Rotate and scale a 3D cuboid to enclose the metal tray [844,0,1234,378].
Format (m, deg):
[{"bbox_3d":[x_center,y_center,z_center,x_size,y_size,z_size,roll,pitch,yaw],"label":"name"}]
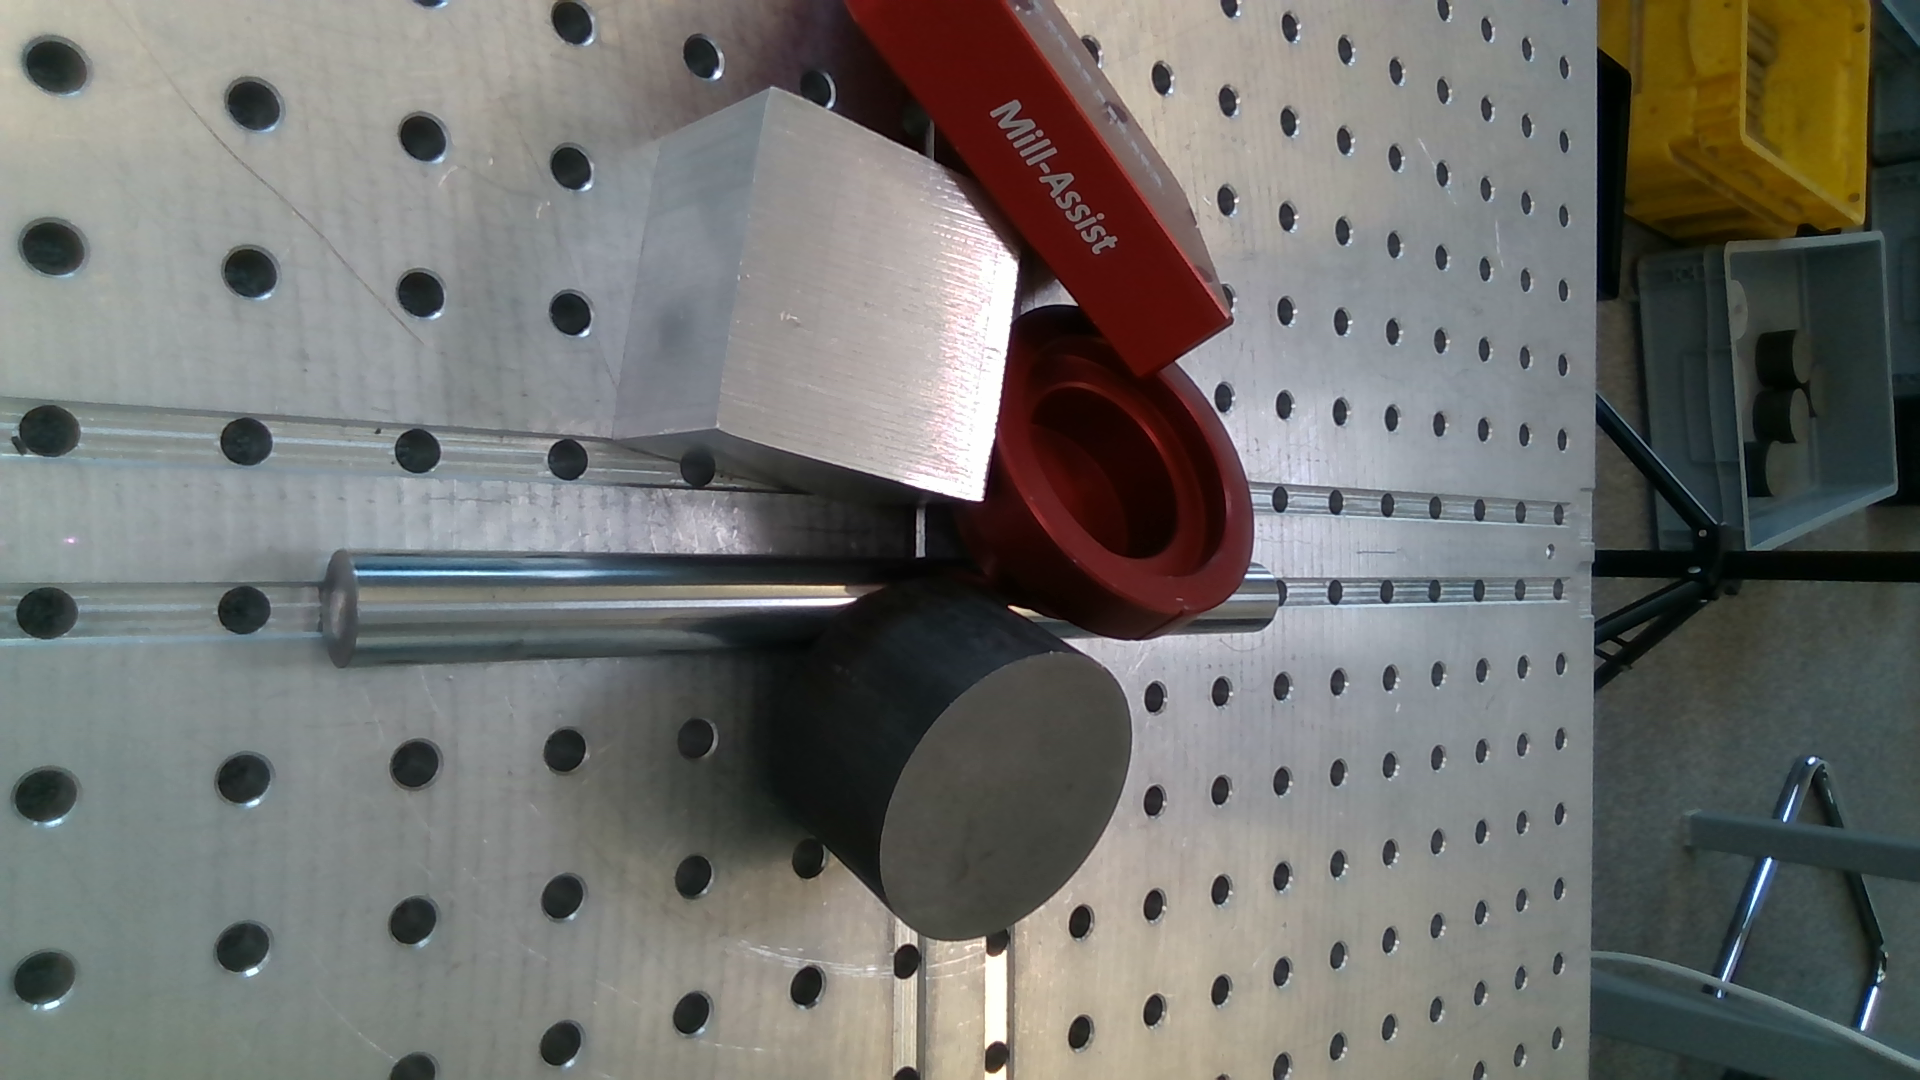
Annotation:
[{"bbox_3d":[0.022,-0.117,0.378,0.130,0.030,0.090,46,24,-31],"label":"metal tray"}]

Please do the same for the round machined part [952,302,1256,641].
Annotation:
[{"bbox_3d":[0.036,-0.016,0.397,0.098,0.042,0.098,22,52,-30],"label":"round machined part"}]

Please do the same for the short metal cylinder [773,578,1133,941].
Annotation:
[{"bbox_3d":[-0.001,0.056,0.360,0.080,0.050,0.080,-18,121,-33],"label":"short metal cylinder"}]

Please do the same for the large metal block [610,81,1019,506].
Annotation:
[{"bbox_3d":[-0.034,-0.056,0.349,0.080,0.050,0.080,13,81,-39],"label":"large metal block"}]

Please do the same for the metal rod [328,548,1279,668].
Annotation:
[{"bbox_3d":[-0.014,0.017,0.384,0.300,0.025,0.025,1,89,-40],"label":"metal rod"}]
